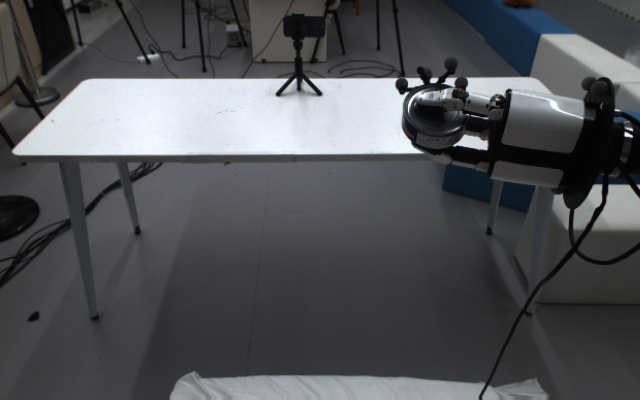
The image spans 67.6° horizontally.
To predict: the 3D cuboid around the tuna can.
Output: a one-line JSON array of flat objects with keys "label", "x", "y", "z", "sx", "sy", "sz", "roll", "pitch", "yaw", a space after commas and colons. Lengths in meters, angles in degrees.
[{"label": "tuna can", "x": 0.149, "y": -0.110, "z": 0.629, "sx": 0.085, "sy": 0.034, "sz": 0.085, "roll": -2, "pitch": 58, "yaw": 3}]
